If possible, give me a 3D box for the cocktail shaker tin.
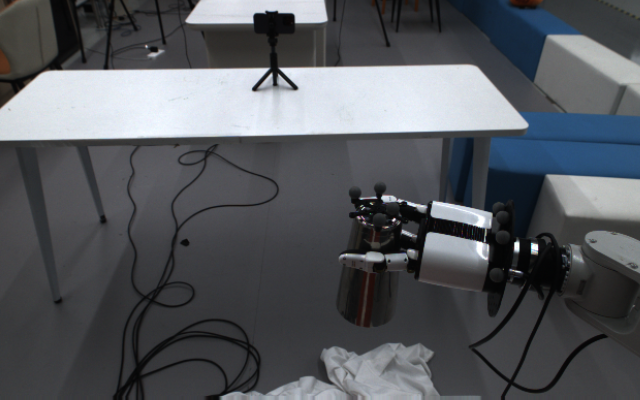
[{"bbox_3d":[0.078,0.088,0.705,0.093,0.170,0.093,3,33,-2],"label":"cocktail shaker tin"}]
